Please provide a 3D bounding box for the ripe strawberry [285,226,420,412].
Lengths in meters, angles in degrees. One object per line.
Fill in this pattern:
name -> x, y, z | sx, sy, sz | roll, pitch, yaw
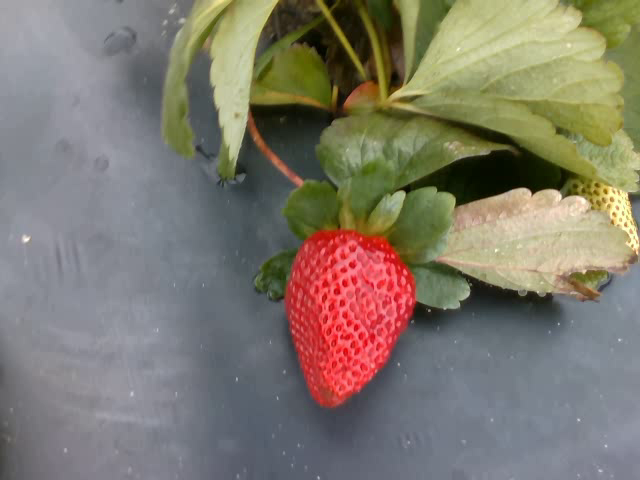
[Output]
ripe strawberry -> 0.005, 0.024, 0.187 | 0.048, 0.064, 0.046 | 36, -47, -18
